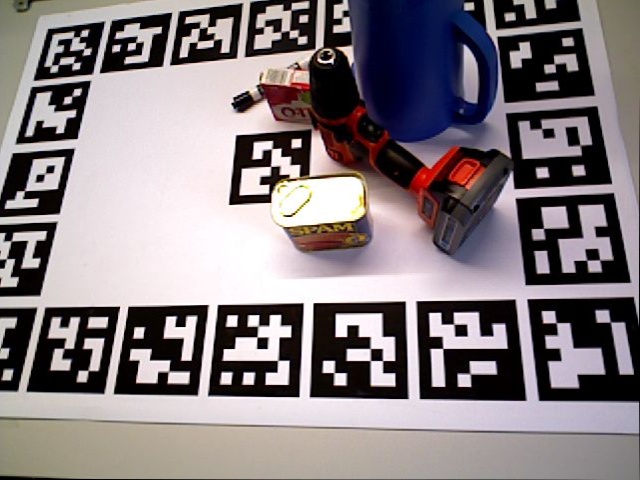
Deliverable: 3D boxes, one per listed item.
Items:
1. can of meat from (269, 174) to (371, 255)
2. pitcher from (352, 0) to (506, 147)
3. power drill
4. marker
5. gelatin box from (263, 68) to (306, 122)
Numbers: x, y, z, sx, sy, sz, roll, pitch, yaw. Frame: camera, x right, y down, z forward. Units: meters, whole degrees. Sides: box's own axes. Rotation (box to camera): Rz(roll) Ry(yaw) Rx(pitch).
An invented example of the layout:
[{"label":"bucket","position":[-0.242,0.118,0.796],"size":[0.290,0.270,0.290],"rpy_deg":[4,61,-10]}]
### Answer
[{"label":"can of meat","position":[0.004,-0.025,0.588],"size":[0.102,0.084,0.057],"rpy_deg":[-3,66,9]},{"label":"pitcher","position":[0.112,-0.211,0.561],"size":[0.189,0.244,0.132],"rpy_deg":[29,79,27]},{"label":"power drill","position":[0.065,-0.105,0.555],"size":[0.187,0.186,0.057],"rpy_deg":[34,80,15]},{"label":"marker","position":[-0.065,-0.211,0.709],"size":[0.121,0.020,0.019],"rpy_deg":[-27,67,2]},{"label":"gelatin box","position":[-0.017,-0.172,0.658],"size":[0.089,0.074,0.030],"rpy_deg":[9,74,13]}]
